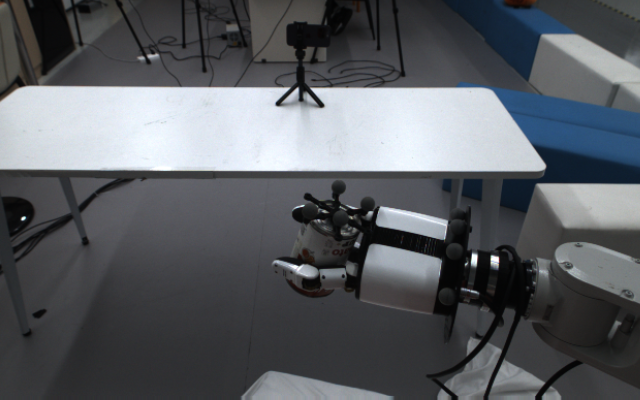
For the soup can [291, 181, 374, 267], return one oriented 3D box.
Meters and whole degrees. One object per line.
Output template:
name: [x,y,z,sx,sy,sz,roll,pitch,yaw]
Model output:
soup can: [0.004,0.059,0.579,0.067,0.101,0.067,14,35,-10]
